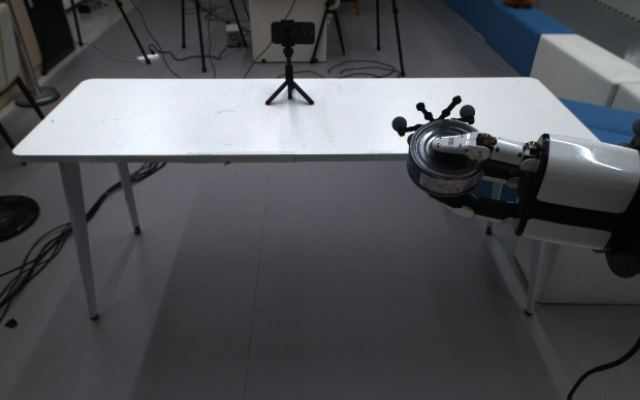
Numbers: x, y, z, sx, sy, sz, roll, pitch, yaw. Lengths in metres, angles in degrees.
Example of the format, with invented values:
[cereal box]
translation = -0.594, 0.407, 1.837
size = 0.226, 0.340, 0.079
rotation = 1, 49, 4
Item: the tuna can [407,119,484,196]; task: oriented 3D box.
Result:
[tuna can]
translation = 0.143, -0.049, 0.536
size = 0.085, 0.034, 0.085
rotation = -3, 59, 5
